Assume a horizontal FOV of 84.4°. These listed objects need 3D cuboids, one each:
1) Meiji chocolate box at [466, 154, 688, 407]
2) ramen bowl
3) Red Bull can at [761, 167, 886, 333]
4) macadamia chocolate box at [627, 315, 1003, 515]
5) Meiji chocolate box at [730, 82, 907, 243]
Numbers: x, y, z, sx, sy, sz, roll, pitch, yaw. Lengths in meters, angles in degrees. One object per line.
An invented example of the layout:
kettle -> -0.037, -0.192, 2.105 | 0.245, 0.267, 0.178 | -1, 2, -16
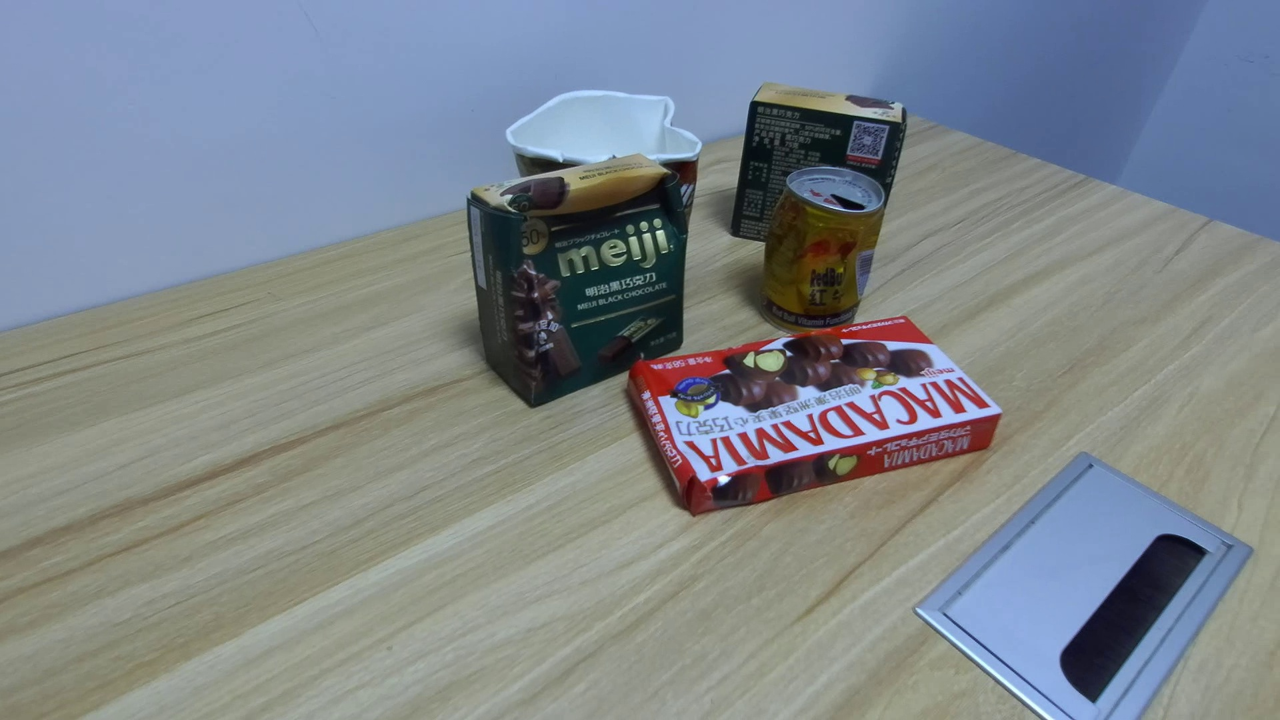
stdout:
Meiji chocolate box -> -0.030, -0.049, 0.404 | 0.118, 0.117, 0.051 | -20, 35, -28
ramen bowl -> -0.028, -0.127, 0.510 | 0.134, 0.097, 0.113 | -6, 41, -15
Red Bull can -> 0.114, -0.069, 0.451 | 0.072, 0.092, 0.072 | 3, 39, -2
macadamia chocolate box -> 0.092, 0.023, 0.388 | 0.183, 0.028, 0.105 | -9, 40, -16
Meiji chocolate box -> 0.135, -0.144, 0.537 | 0.113, 0.111, 0.058 | 13, 38, 12
